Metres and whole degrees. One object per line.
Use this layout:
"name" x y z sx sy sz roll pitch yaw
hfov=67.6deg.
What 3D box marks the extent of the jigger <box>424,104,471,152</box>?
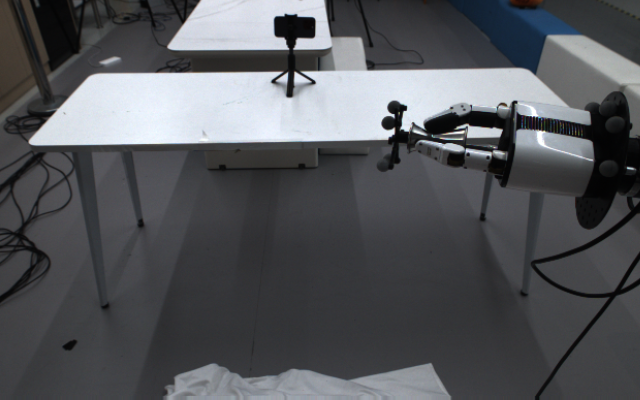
"jigger" 0.153 -0.076 0.604 0.071 0.043 0.043 9 35 17
